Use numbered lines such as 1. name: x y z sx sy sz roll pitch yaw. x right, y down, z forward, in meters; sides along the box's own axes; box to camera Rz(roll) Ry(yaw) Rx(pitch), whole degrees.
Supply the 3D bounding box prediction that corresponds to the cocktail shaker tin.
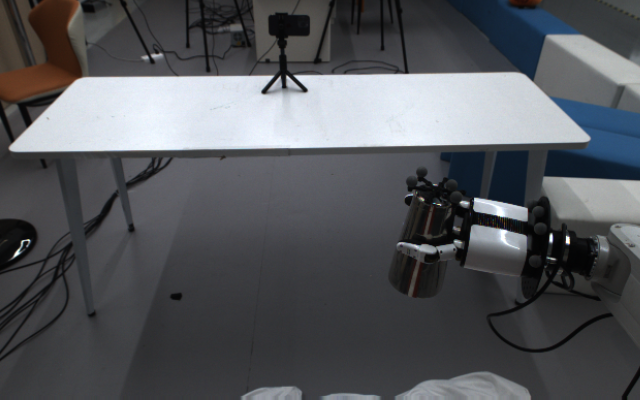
1. cocktail shaker tin: 0.169 0.062 0.777 0.093 0.170 0.093 4 32 -2
